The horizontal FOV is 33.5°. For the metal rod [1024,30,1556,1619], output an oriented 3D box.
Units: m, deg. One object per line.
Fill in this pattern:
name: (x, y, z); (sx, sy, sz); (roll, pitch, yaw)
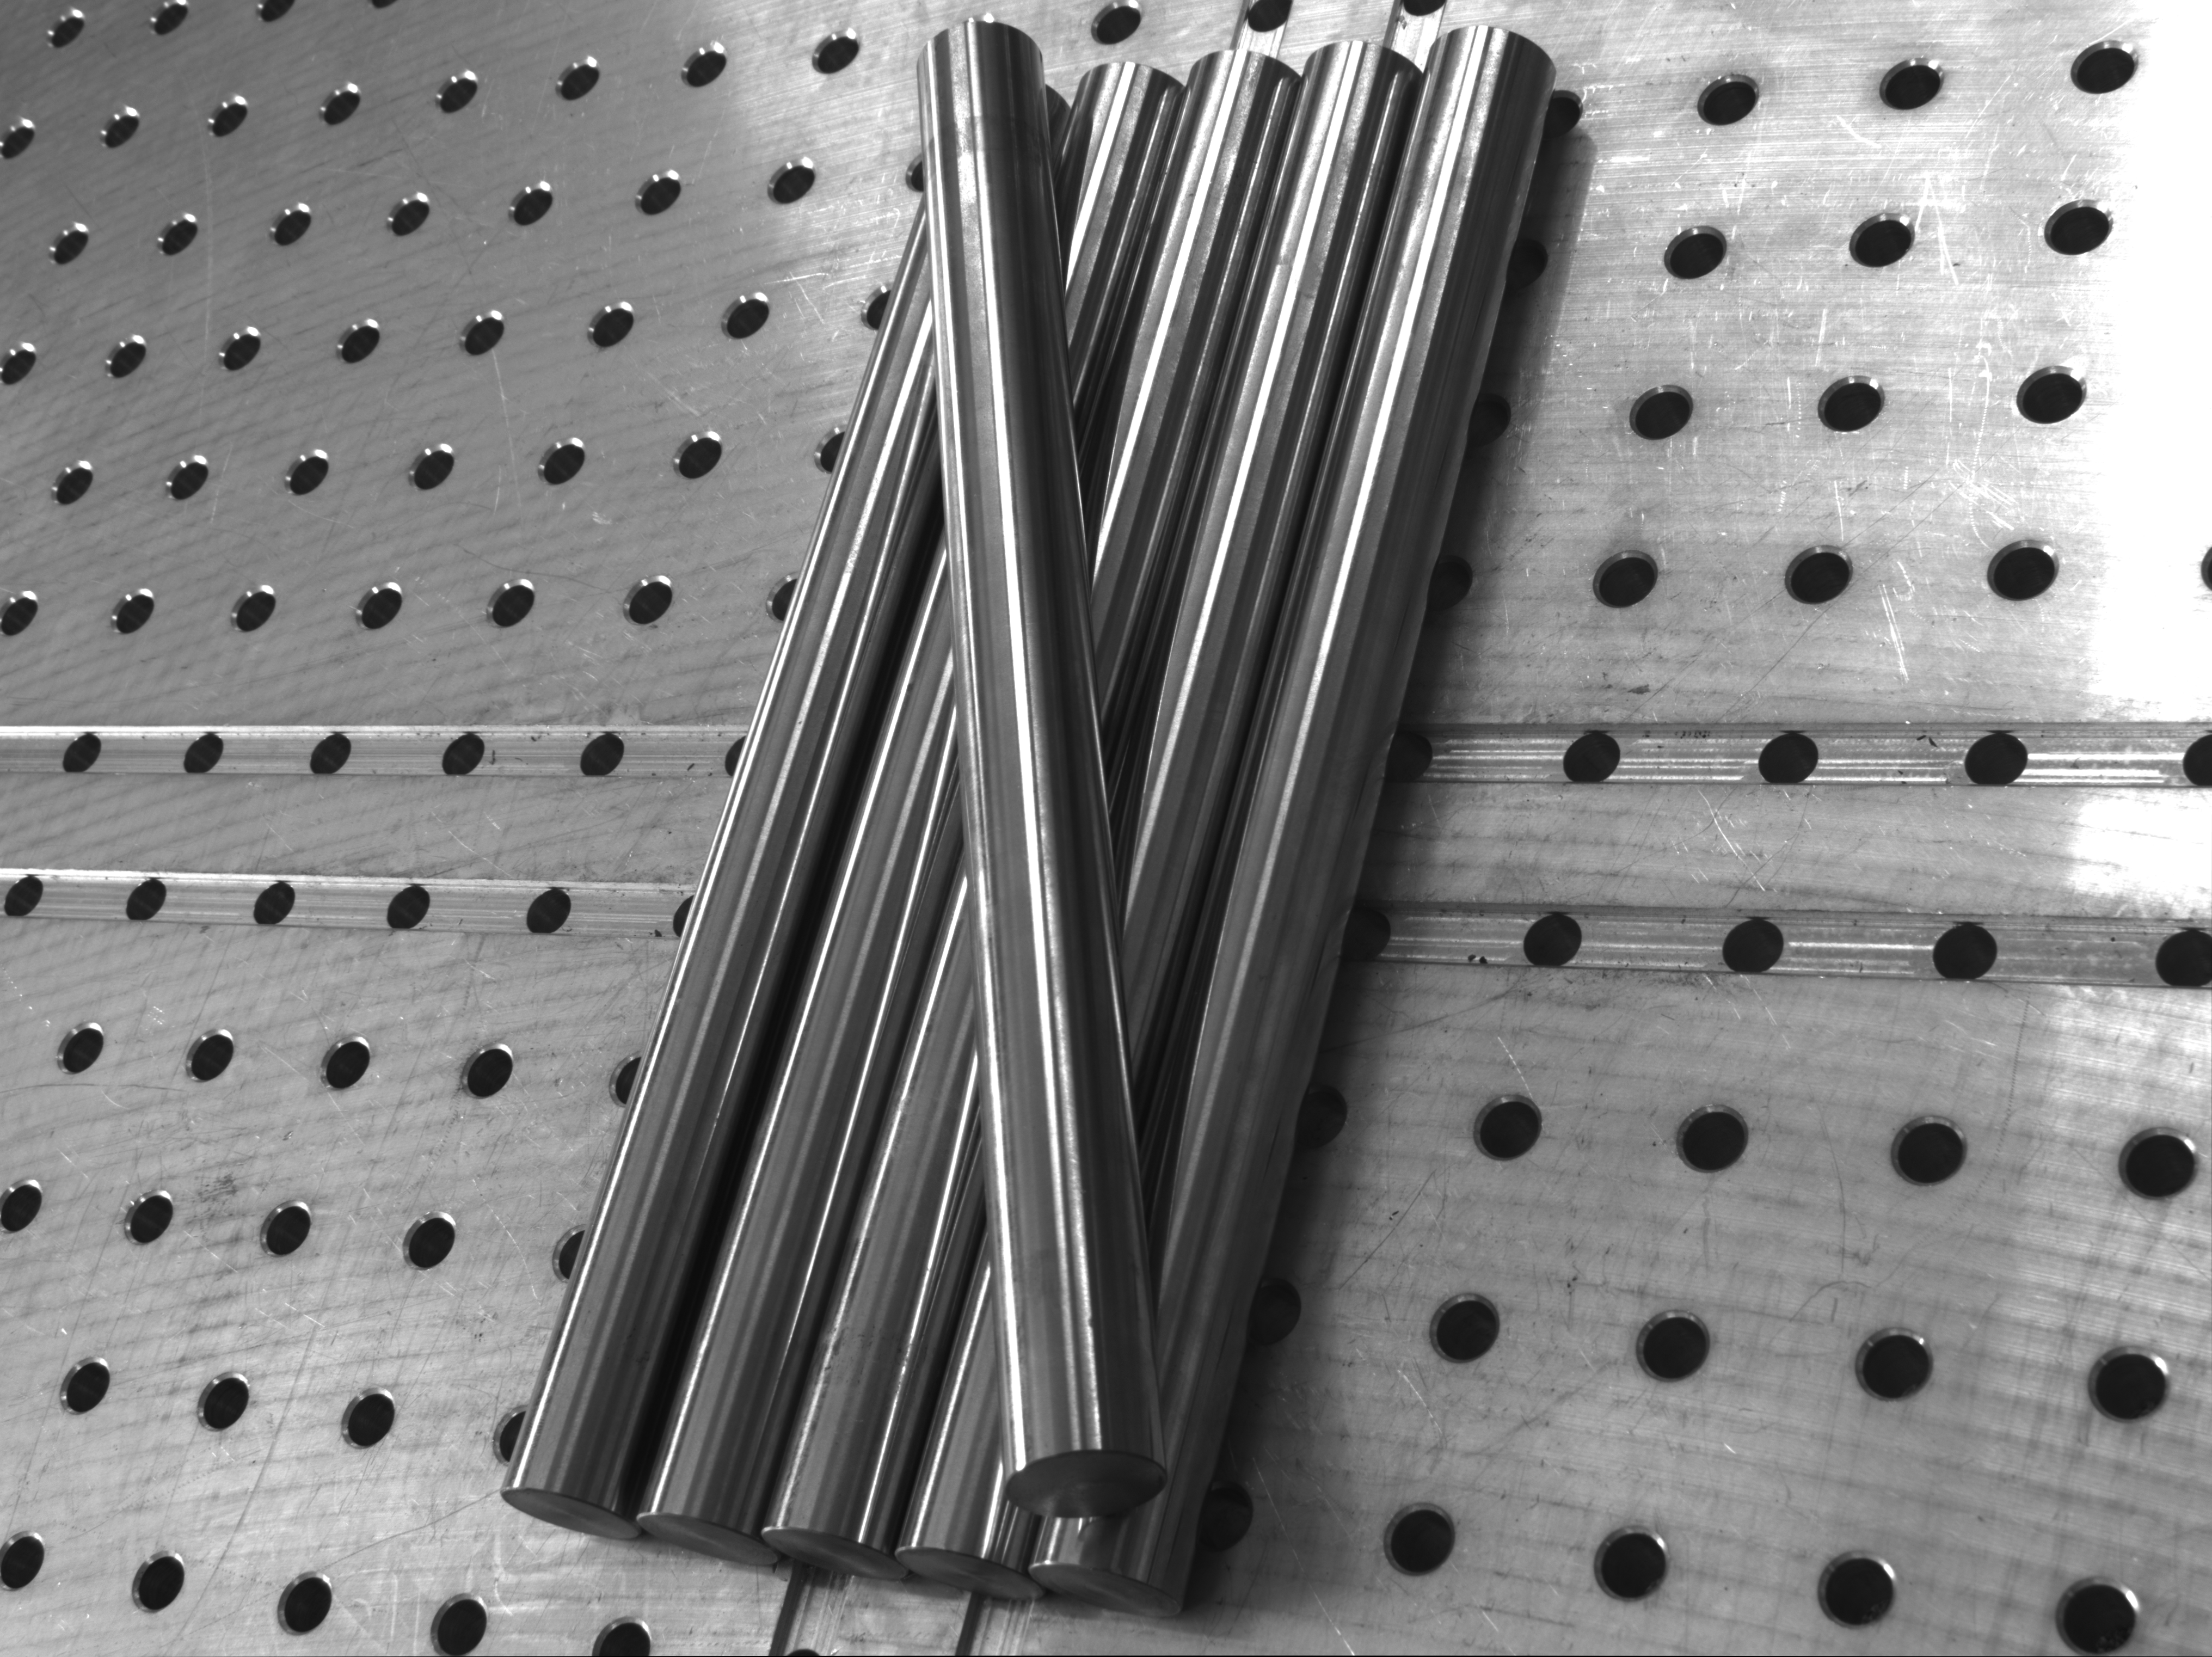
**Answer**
metal rod: (0.036, -0.012, 0.637); (0.025, 0.025, 0.300); (1, 62, 29)

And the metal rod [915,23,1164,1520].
metal rod: (-0.014, -0.025, 0.639); (0.025, 0.025, 0.300); (-18, 54, 18)

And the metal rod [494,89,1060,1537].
metal rod: (-0.056, -0.015, 0.687); (0.025, 0.025, 0.300); (1, 62, 29)

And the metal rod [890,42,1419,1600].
metal rod: (0.014, -0.013, 0.650); (0.025, 0.025, 0.300); (1, 62, 29)

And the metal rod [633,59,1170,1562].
metal rod: (-0.030, -0.014, 0.673); (0.025, 0.025, 0.300); (1, 62, 29)

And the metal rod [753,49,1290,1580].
metal rod: (-0.009, -0.013, 0.661); (0.025, 0.025, 0.300); (1, 62, 29)
